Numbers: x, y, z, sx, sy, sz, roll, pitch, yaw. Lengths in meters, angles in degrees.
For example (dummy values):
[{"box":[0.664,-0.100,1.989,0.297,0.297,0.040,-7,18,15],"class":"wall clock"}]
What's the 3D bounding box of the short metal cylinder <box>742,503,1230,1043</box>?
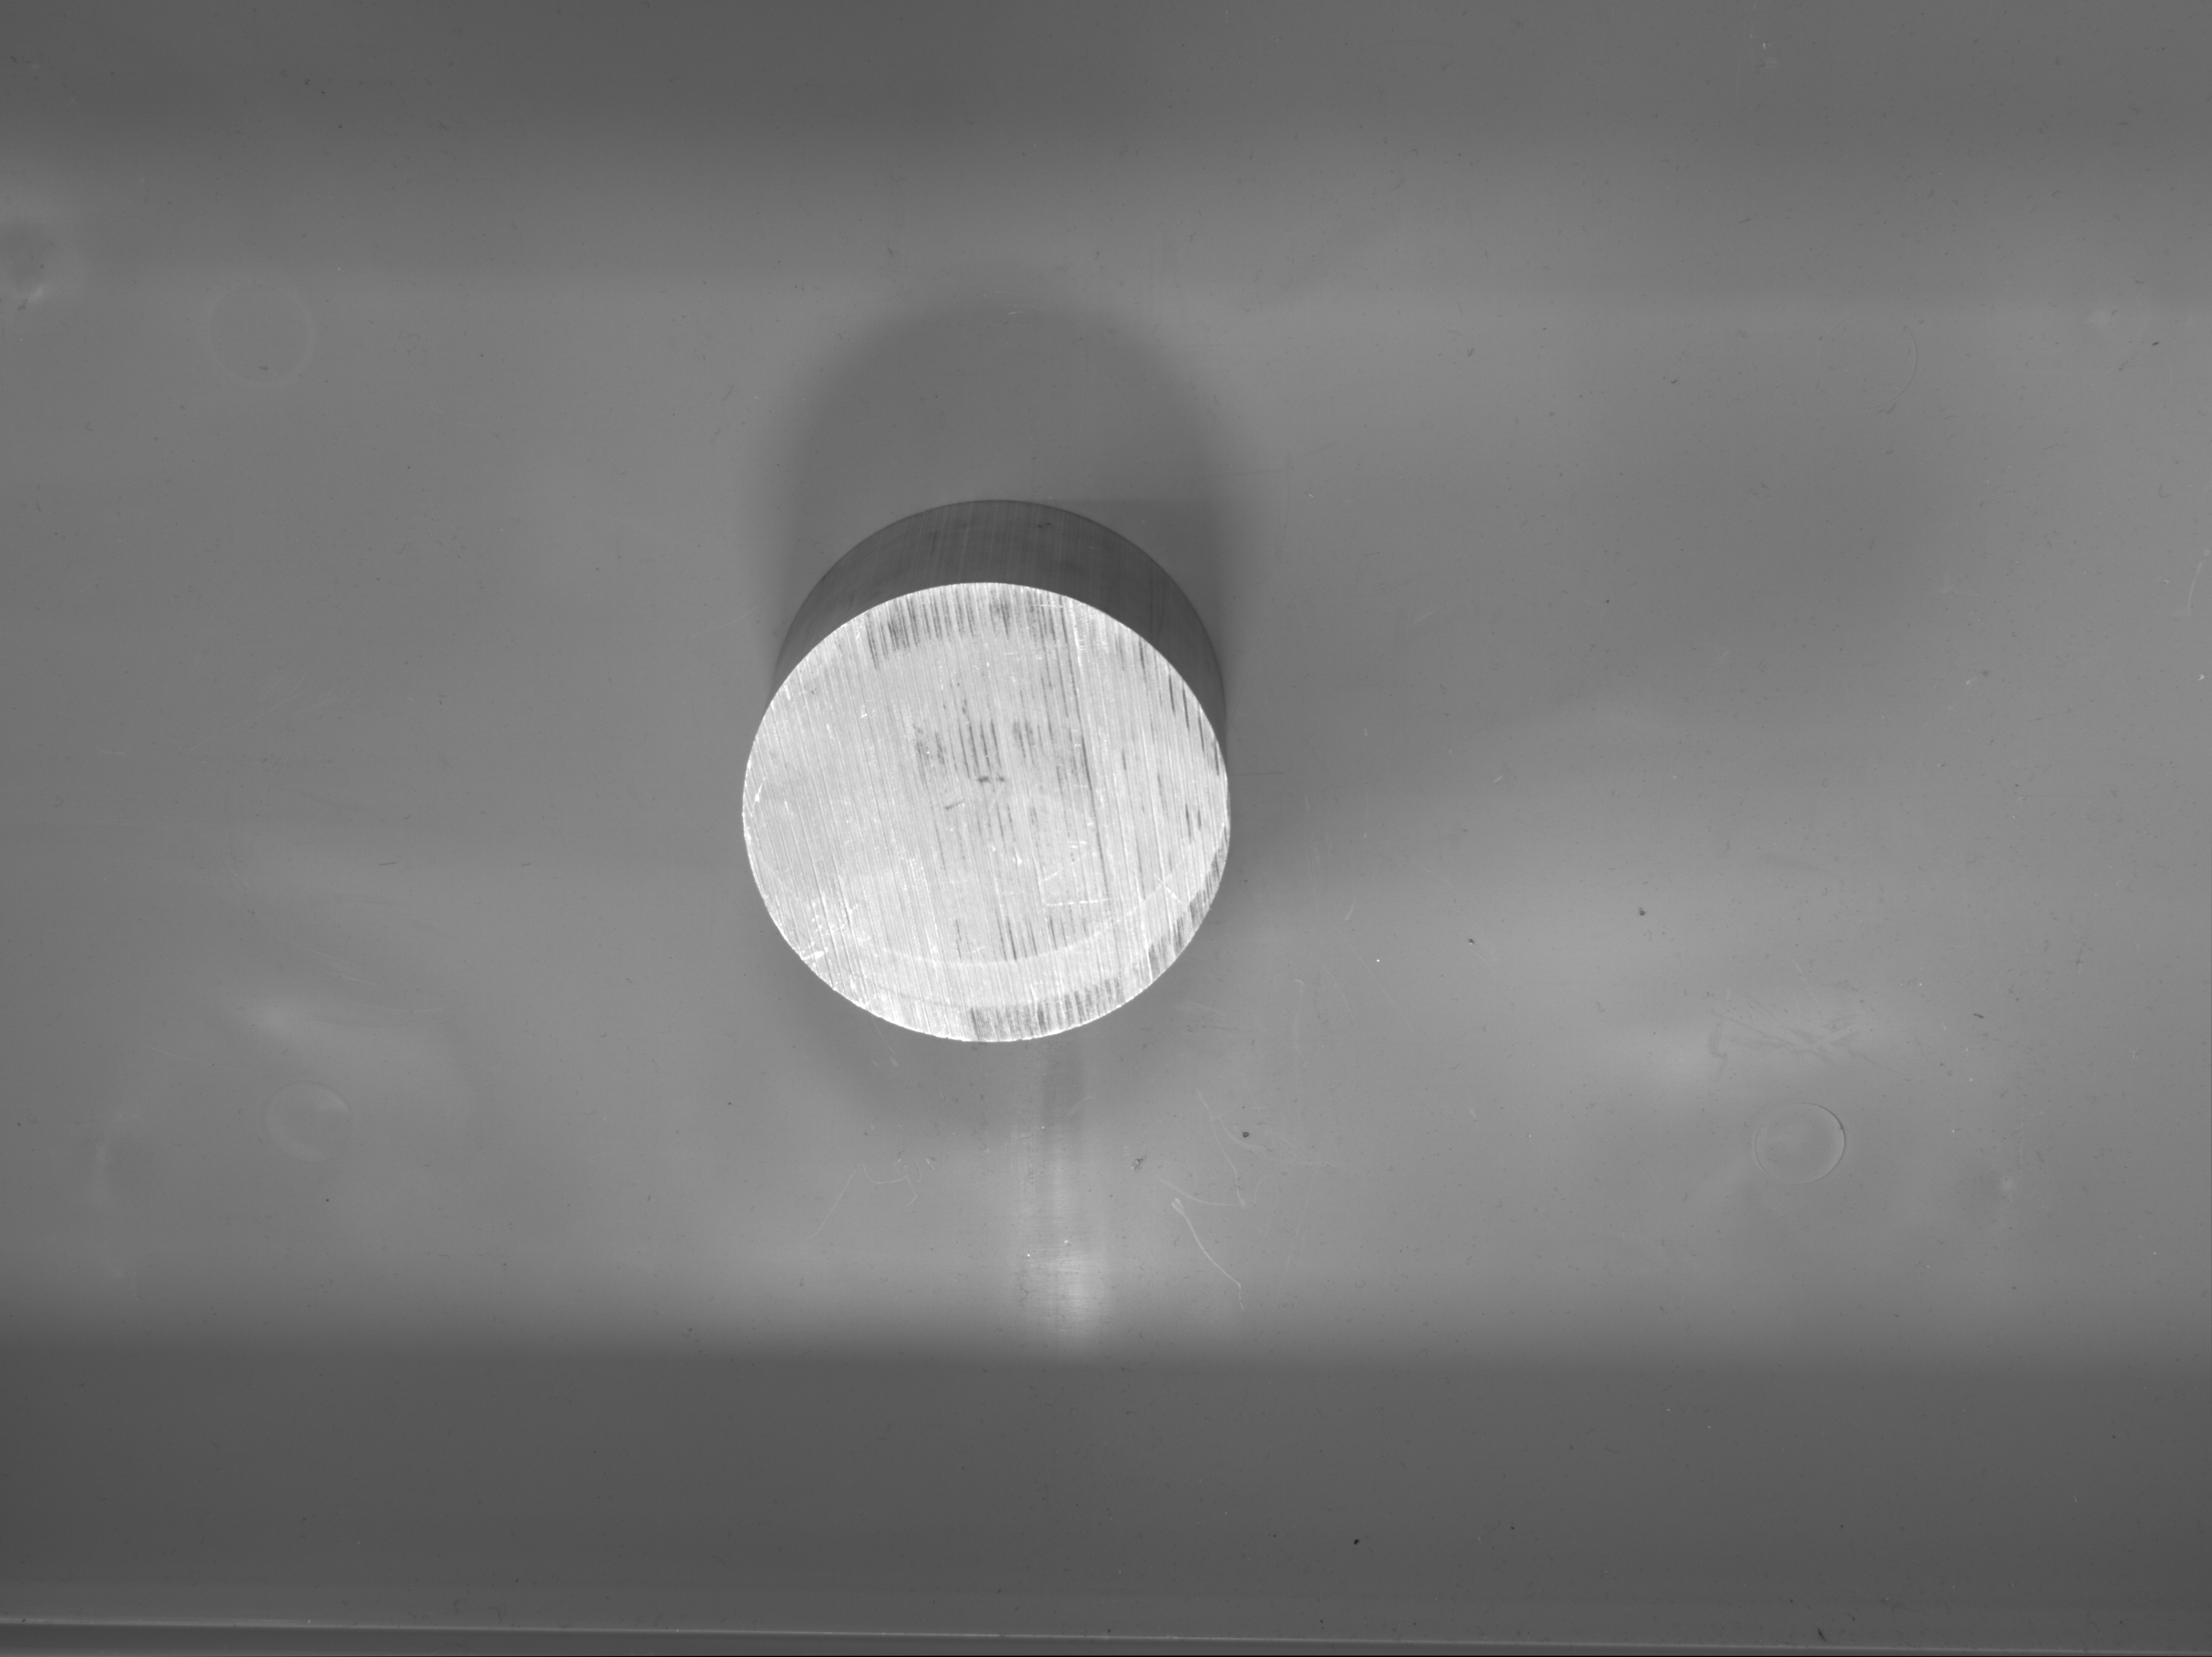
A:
[{"box":[-0.020,-0.010,0.625,0.080,0.050,0.080,0,110,0],"class":"short metal cylinder"}]
